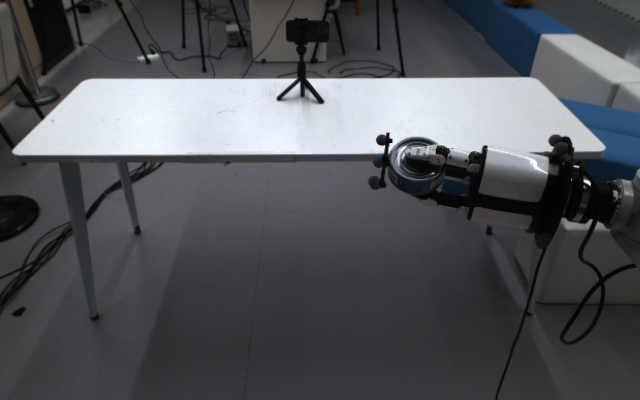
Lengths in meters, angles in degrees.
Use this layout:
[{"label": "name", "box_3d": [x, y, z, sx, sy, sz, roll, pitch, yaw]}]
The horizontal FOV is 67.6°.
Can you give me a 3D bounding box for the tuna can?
[{"label": "tuna can", "box_3d": [0.148, -0.049, 0.718, 0.085, 0.034, 0.085, -1, 57, 2]}]
